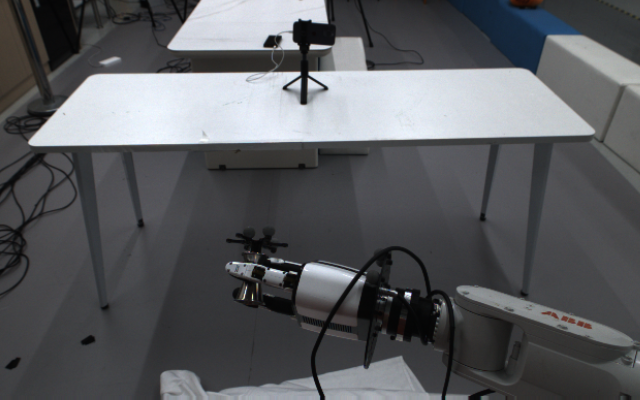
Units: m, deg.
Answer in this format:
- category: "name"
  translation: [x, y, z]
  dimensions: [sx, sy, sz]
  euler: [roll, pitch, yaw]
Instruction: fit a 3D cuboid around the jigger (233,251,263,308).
- category: "jigger"
  translation: [-0.096, 0.109, 0.678]
  dimensions: [0.043, 0.043, 0.071]
  euler: [5, 71, 4]
